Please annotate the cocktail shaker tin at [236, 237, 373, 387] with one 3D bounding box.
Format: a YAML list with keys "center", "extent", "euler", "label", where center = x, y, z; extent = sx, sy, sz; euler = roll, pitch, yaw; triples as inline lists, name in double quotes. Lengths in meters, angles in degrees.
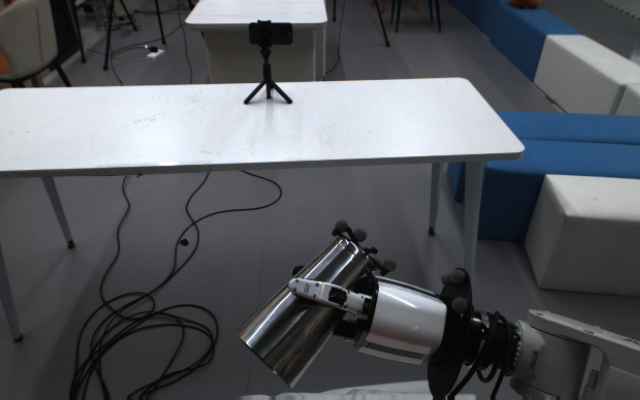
- center: [-0.009, 0.124, 0.587]
  extent: [0.093, 0.093, 0.170]
  euler: [32, 67, 35]
  label: "cocktail shaker tin"
